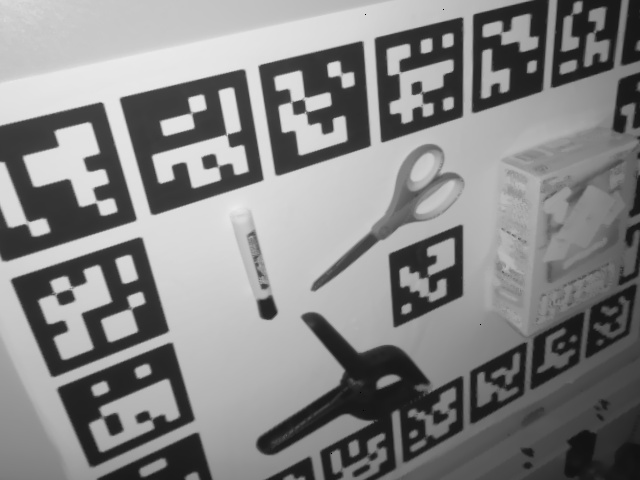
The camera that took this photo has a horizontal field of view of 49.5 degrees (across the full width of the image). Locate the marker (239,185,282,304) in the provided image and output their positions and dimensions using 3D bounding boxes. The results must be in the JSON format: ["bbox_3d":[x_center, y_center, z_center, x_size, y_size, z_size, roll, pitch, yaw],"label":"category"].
[{"bbox_3d":[-0.053,0.008,0.630,0.020,0.019,0.120,-21,122,-20],"label":"marker"}]

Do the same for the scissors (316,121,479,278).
[{"bbox_3d":[0.075,-0.030,0.688,0.203,0.016,0.088,-42,128,-4],"label":"scissors"}]

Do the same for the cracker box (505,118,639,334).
[{"bbox_3d":[0.301,-0.016,0.794,0.166,0.071,0.212,-17,120,-22],"label":"cracker box"}]

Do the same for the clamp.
[{"bbox_3d":[0.045,0.147,0.760,0.205,0.036,0.164,13,106,-33],"label":"clamp"}]
